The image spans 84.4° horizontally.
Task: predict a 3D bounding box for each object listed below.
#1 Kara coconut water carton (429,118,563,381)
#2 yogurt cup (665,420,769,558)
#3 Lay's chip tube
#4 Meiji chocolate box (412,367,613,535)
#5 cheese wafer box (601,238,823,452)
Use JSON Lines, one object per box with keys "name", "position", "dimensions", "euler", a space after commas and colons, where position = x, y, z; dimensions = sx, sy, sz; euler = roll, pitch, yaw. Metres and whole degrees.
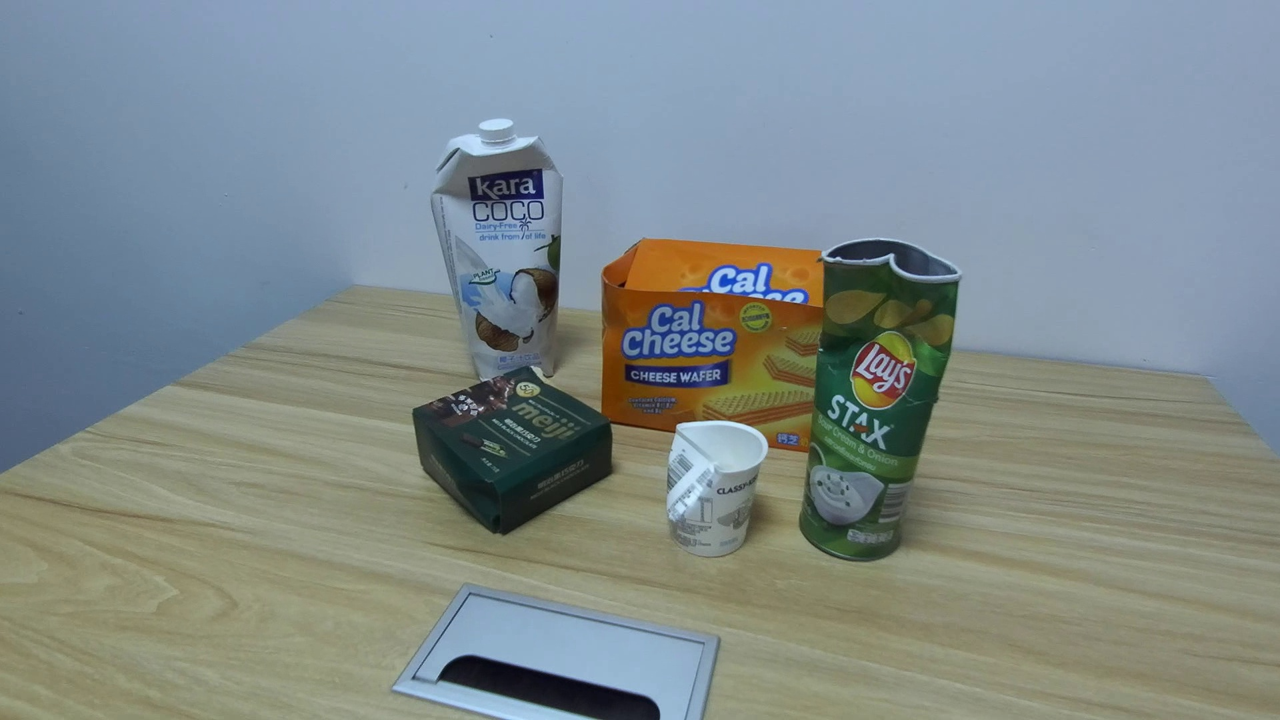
{"name": "Kara coconut water carton", "position": [-0.127, -0.096, 0.652], "dimensions": [0.115, 0.238, 0.069], "euler": [-7, 28, -14]}
{"name": "yogurt cup", "position": [0.050, 0.085, 0.470], "dimensions": [0.067, 0.070, 0.067], "euler": [0, 25, 0]}
{"name": "Lay's chip tube", "position": [0.144, 0.027, 0.443], "dimensions": [0.077, 0.201, 0.069], "euler": [6, 27, 17]}
{"name": "Meiji chocolate box", "position": [-0.094, 0.065, 0.536], "dimensions": [0.123, 0.058, 0.115], "euler": [-24, 38, -37]}
{"name": "cheese wafer box", "position": [0.085, -0.017, 0.617], "dimensions": [0.230, 0.132, 0.152], "euler": [8, 28, 14]}
